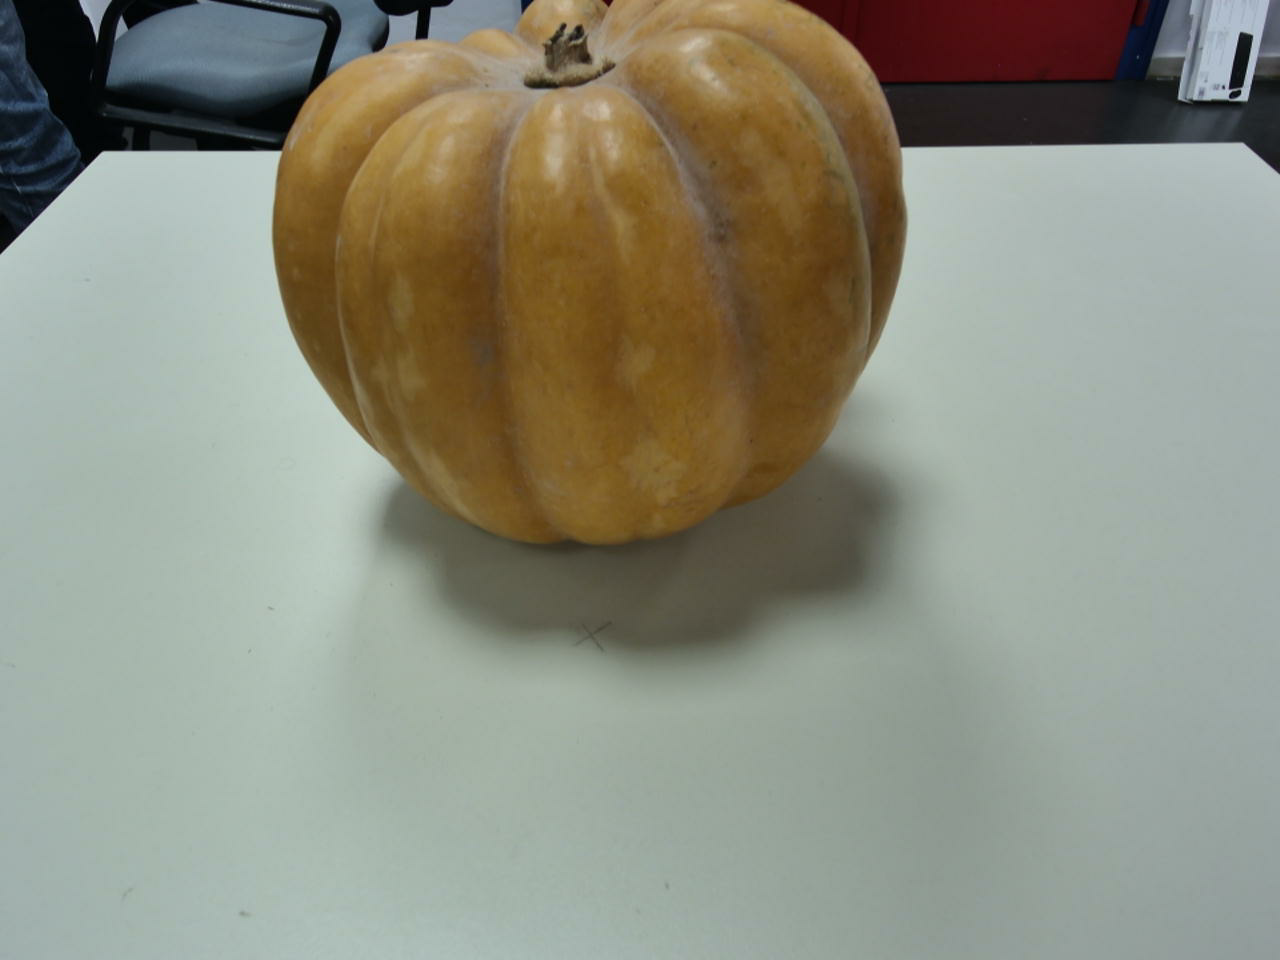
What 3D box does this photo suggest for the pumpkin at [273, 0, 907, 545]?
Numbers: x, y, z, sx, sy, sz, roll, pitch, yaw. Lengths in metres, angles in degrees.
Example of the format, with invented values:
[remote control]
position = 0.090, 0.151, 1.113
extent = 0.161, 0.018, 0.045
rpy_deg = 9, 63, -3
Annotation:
[pumpkin]
position = -0.014, -0.081, 0.383
extent = 0.230, 0.194, 0.230
rpy_deg = 0, 39, 0
